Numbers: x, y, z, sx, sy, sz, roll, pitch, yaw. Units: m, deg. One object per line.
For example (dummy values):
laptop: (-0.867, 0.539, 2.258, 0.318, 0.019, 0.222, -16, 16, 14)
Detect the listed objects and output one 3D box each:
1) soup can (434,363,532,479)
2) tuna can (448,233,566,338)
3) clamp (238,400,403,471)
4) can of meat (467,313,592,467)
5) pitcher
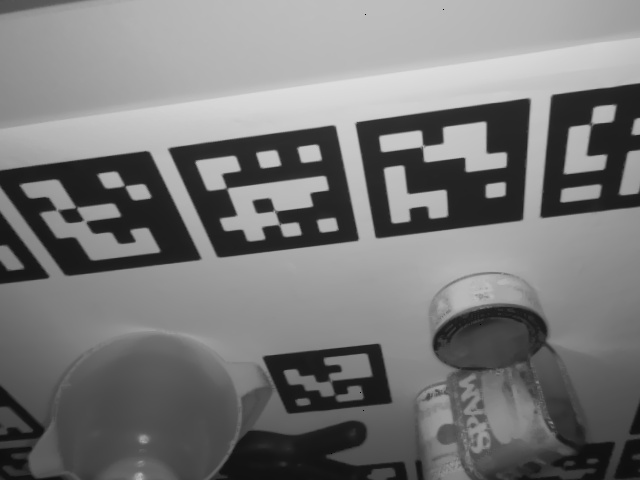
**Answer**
soup can: (0.142, 0.169, 0.618, 0.068, 0.103, 0.067, -2, 131, -1)
tuna can: (0.143, 0.036, 0.539, 0.086, 0.034, 0.085, -1, 131, 0)
clamp: (-0.002, 0.202, 0.702, 0.165, 0.037, 0.121, -4, 137, 7)
can of meat: (0.176, 0.117, 0.564, 0.058, 0.102, 0.082, 36, 120, -27)
pitcher: (-0.133, 0.178, 0.594, 0.191, 0.133, 0.239, -8, 144, -23)
